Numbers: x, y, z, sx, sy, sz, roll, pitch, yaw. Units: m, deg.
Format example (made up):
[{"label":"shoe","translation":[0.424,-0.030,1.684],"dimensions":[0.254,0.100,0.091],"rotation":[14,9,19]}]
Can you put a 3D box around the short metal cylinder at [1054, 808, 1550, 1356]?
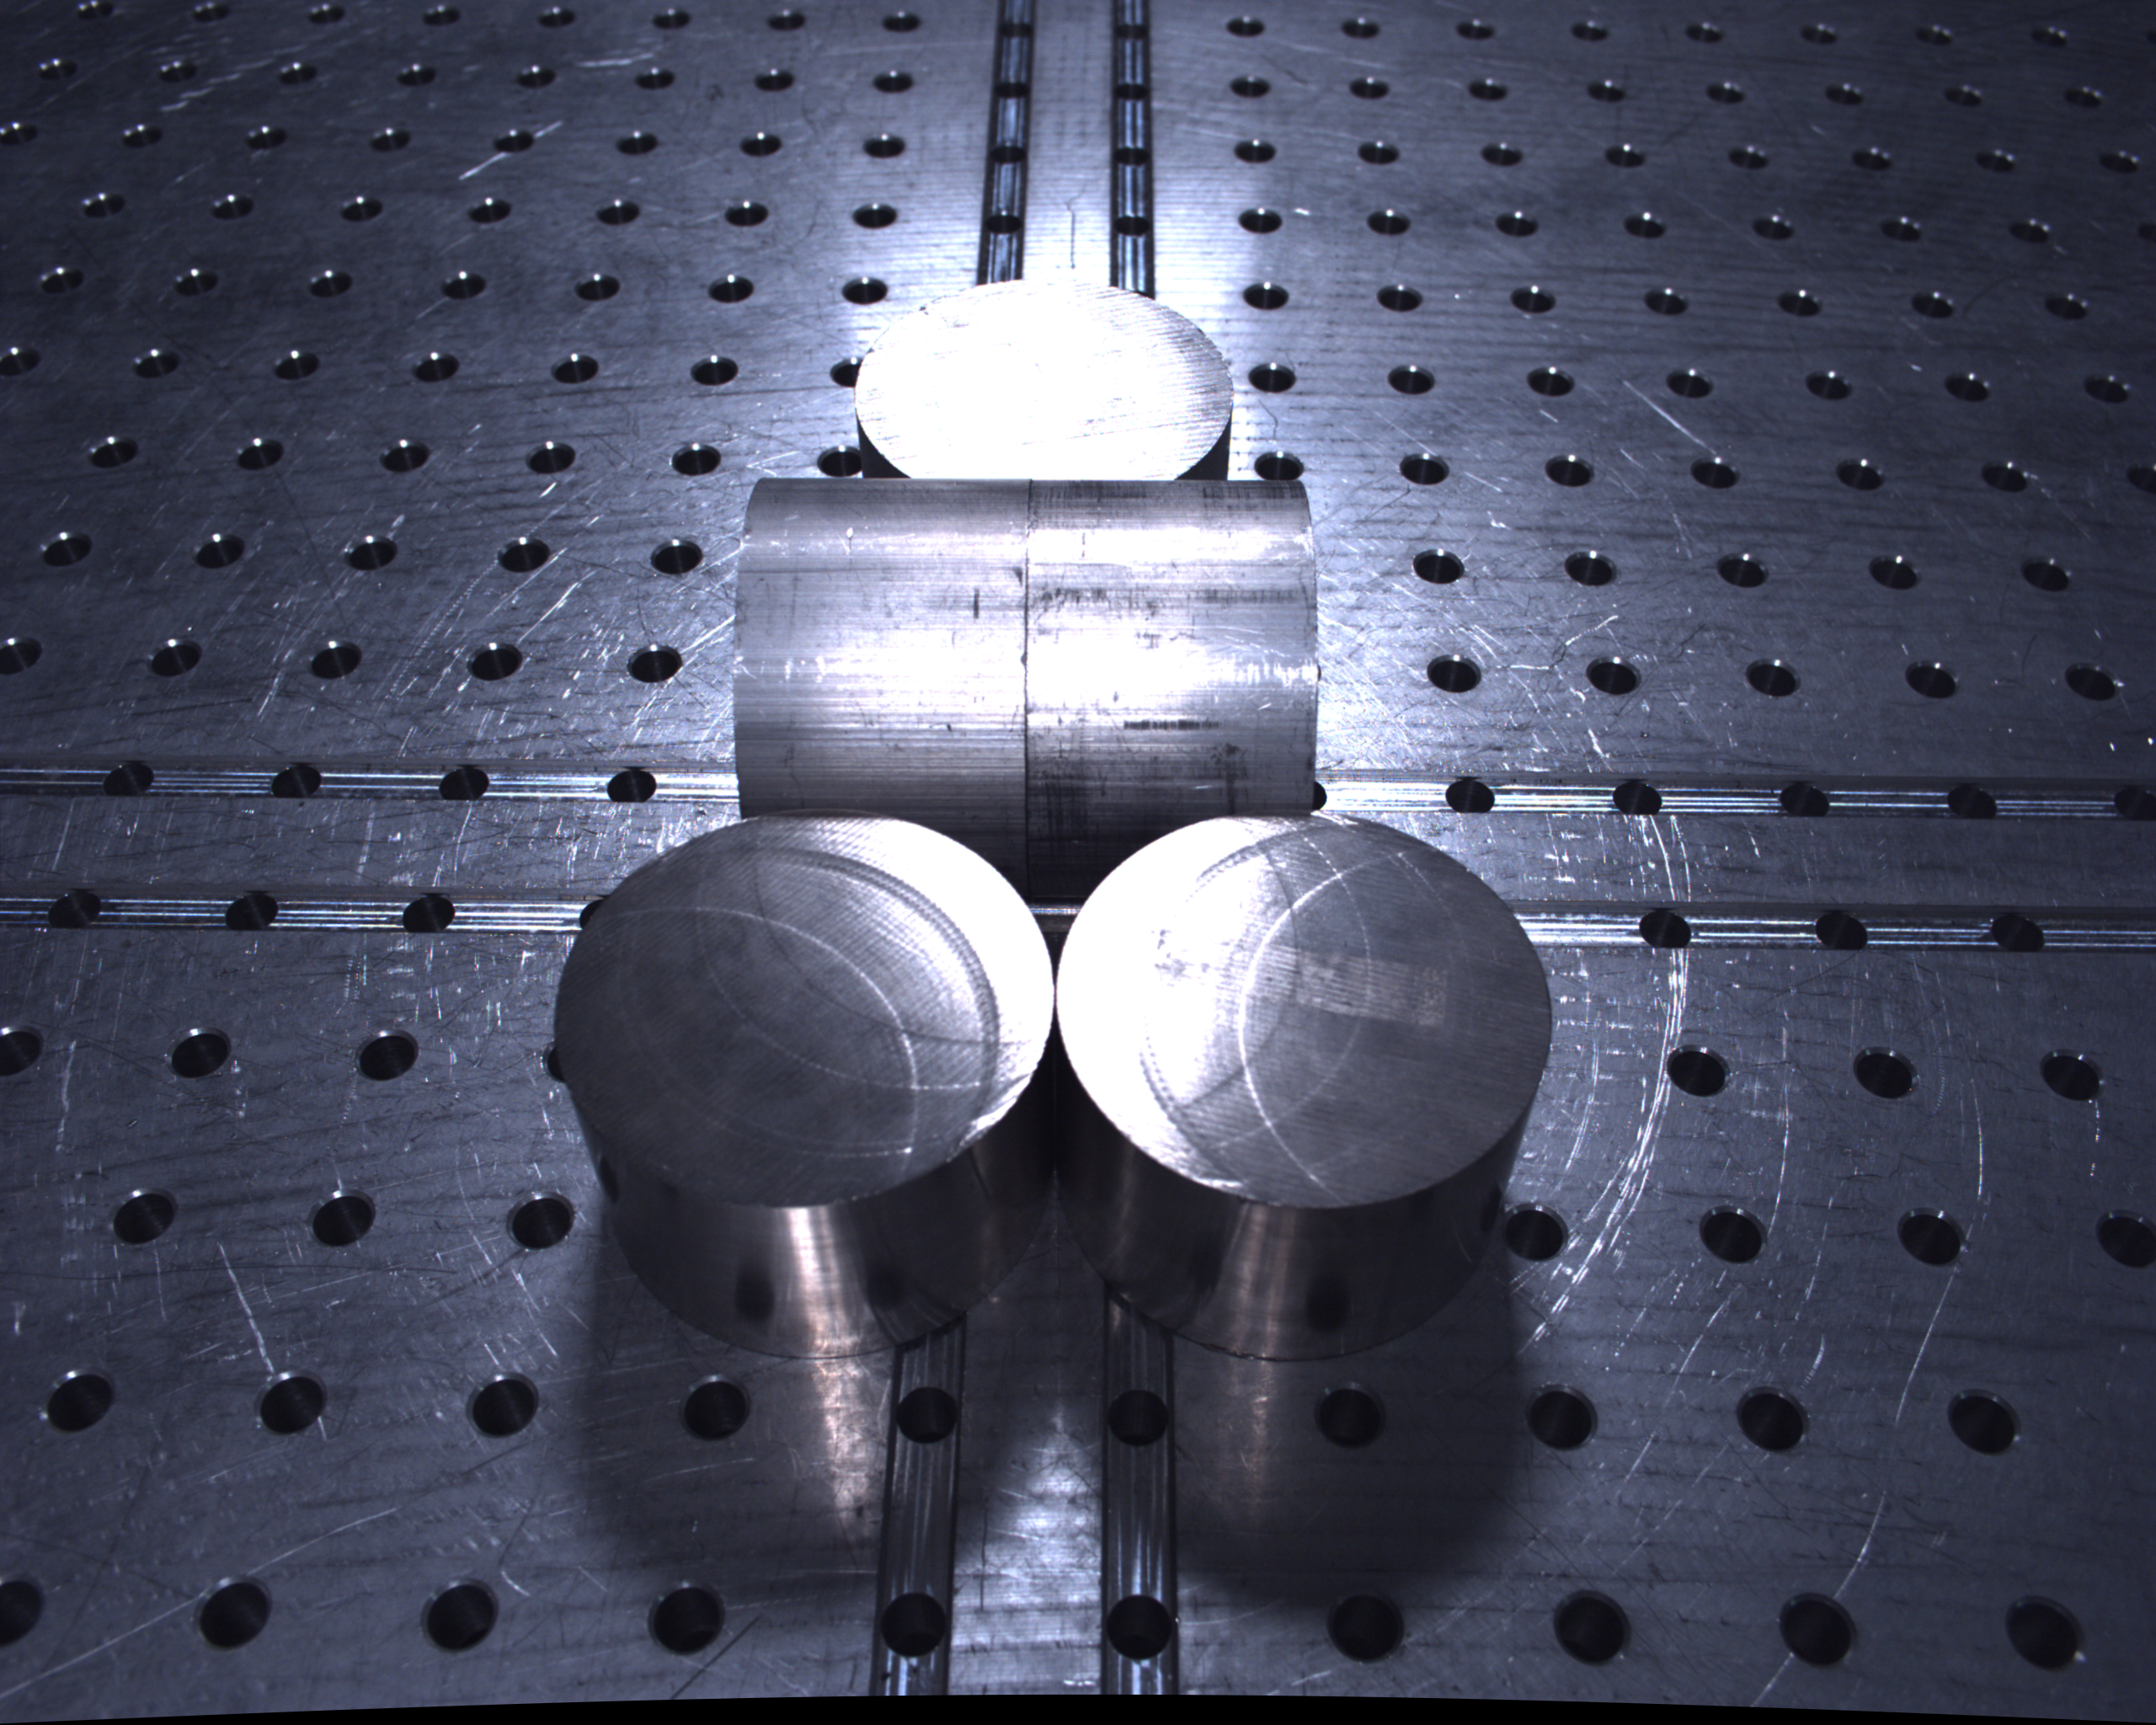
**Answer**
[{"label":"short metal cylinder","translation":[0.036,0.037,0.359],"dimensions":[0.081,0.050,0.080],"rotation":[0,50,0]}]

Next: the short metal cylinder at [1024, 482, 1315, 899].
[{"label":"short metal cylinder","translation":[0.016,-0.033,0.400],"dimensions":[0.050,0.080,0.080],"rotation":[0,50,0]}]

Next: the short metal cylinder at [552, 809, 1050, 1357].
[{"label":"short metal cylinder","translation":[-0.045,0.037,0.358],"dimensions":[0.081,0.050,0.080],"rotation":[0,50,0]}]

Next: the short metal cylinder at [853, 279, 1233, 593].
[{"label":"short metal cylinder","translation":[-0.007,-0.085,0.462],"dimensions":[0.081,0.050,0.080],"rotation":[0,50,0]}]

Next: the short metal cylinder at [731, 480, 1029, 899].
[{"label":"short metal cylinder","translation":[-0.035,-0.033,0.400],"dimensions":[0.050,0.080,0.080],"rotation":[0,50,0]}]
